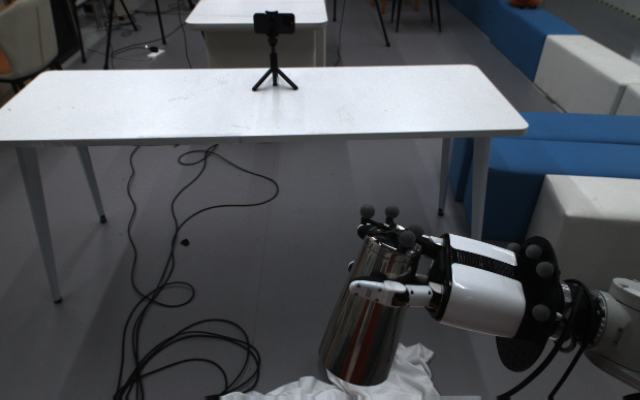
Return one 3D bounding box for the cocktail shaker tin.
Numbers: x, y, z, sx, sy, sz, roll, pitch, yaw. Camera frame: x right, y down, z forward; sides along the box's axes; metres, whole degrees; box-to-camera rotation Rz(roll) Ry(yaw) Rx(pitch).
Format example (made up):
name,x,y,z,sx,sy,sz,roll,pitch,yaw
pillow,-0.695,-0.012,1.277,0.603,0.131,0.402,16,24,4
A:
name,x,y,z,sx,sy,sz,roll,pitch,yaw
cocktail shaker tin,0.066,0.119,0.580,0.093,0.170,0.093,14,19,-5
